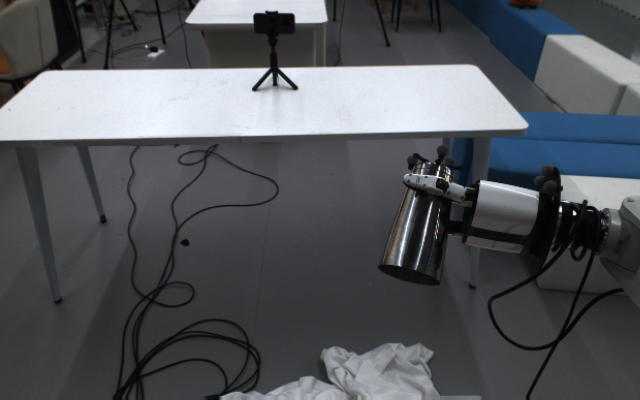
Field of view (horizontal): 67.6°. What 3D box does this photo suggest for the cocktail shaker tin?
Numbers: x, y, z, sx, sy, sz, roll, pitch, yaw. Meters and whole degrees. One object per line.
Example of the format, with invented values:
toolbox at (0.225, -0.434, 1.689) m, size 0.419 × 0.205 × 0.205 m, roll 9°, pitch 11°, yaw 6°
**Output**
cocktail shaker tin at (0.154, 0.029, 0.730) m, size 0.093 × 0.093 × 0.170 m, roll 13°, pitch 72°, yaw 15°
